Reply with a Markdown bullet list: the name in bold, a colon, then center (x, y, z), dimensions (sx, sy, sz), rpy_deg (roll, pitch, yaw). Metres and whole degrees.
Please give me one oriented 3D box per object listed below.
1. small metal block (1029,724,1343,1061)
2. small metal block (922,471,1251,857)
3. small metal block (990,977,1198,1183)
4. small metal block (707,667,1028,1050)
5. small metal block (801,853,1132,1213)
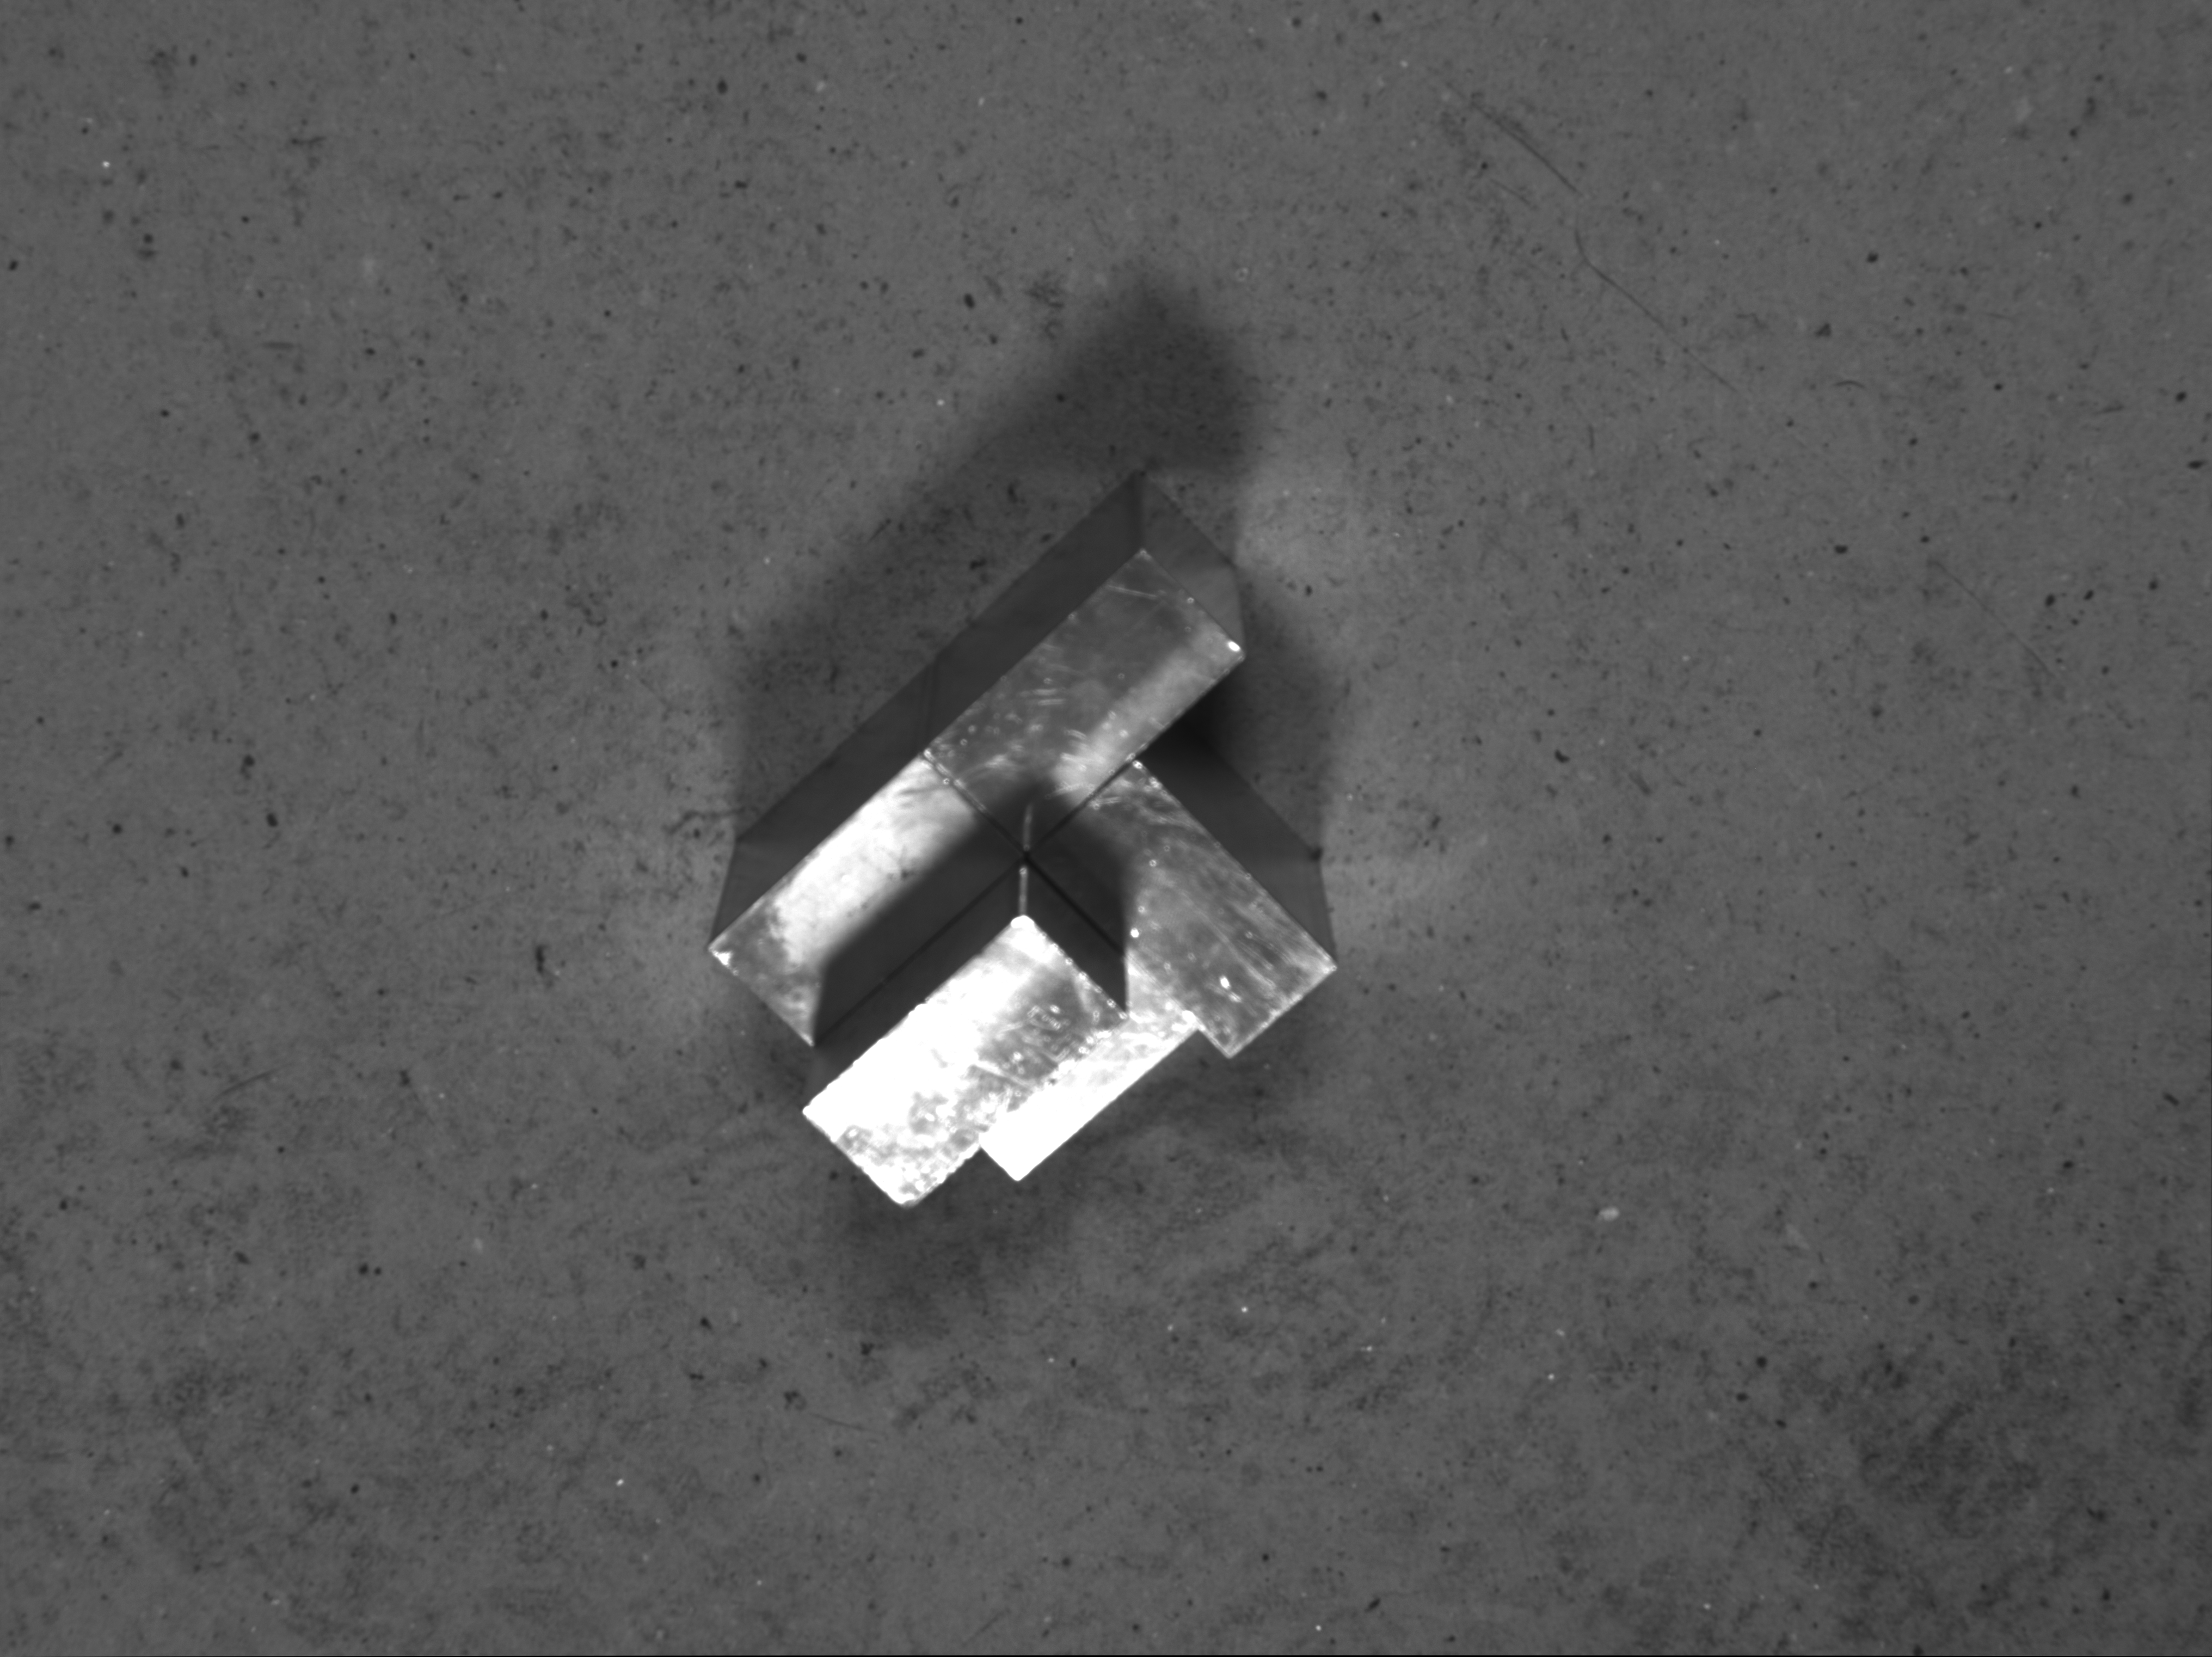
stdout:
- **small metal block**: center (0.013, 0.006, 0.632), dimensions (0.025, 0.050, 0.050), rpy_deg (-41, 105, 13)
- **small metal block**: center (-0.003, -0.029, 0.619), dimensions (0.050, 0.050, 0.025), rpy_deg (-42, 105, 13)
- **small metal block**: center (-0.014, 0.026, 0.653), dimensions (0.050, 0.025, 0.050), rpy_deg (-41, 105, 13)
- **small metal block**: center (-0.040, 0.004, 0.631), dimensions (0.050, 0.050, 0.025), rpy_deg (-42, 105, 13)
- **small metal block**: center (-0.023, 0.030, 0.614), dimensions (0.050, 0.050, 0.025), rpy_deg (-42, 105, 13)
